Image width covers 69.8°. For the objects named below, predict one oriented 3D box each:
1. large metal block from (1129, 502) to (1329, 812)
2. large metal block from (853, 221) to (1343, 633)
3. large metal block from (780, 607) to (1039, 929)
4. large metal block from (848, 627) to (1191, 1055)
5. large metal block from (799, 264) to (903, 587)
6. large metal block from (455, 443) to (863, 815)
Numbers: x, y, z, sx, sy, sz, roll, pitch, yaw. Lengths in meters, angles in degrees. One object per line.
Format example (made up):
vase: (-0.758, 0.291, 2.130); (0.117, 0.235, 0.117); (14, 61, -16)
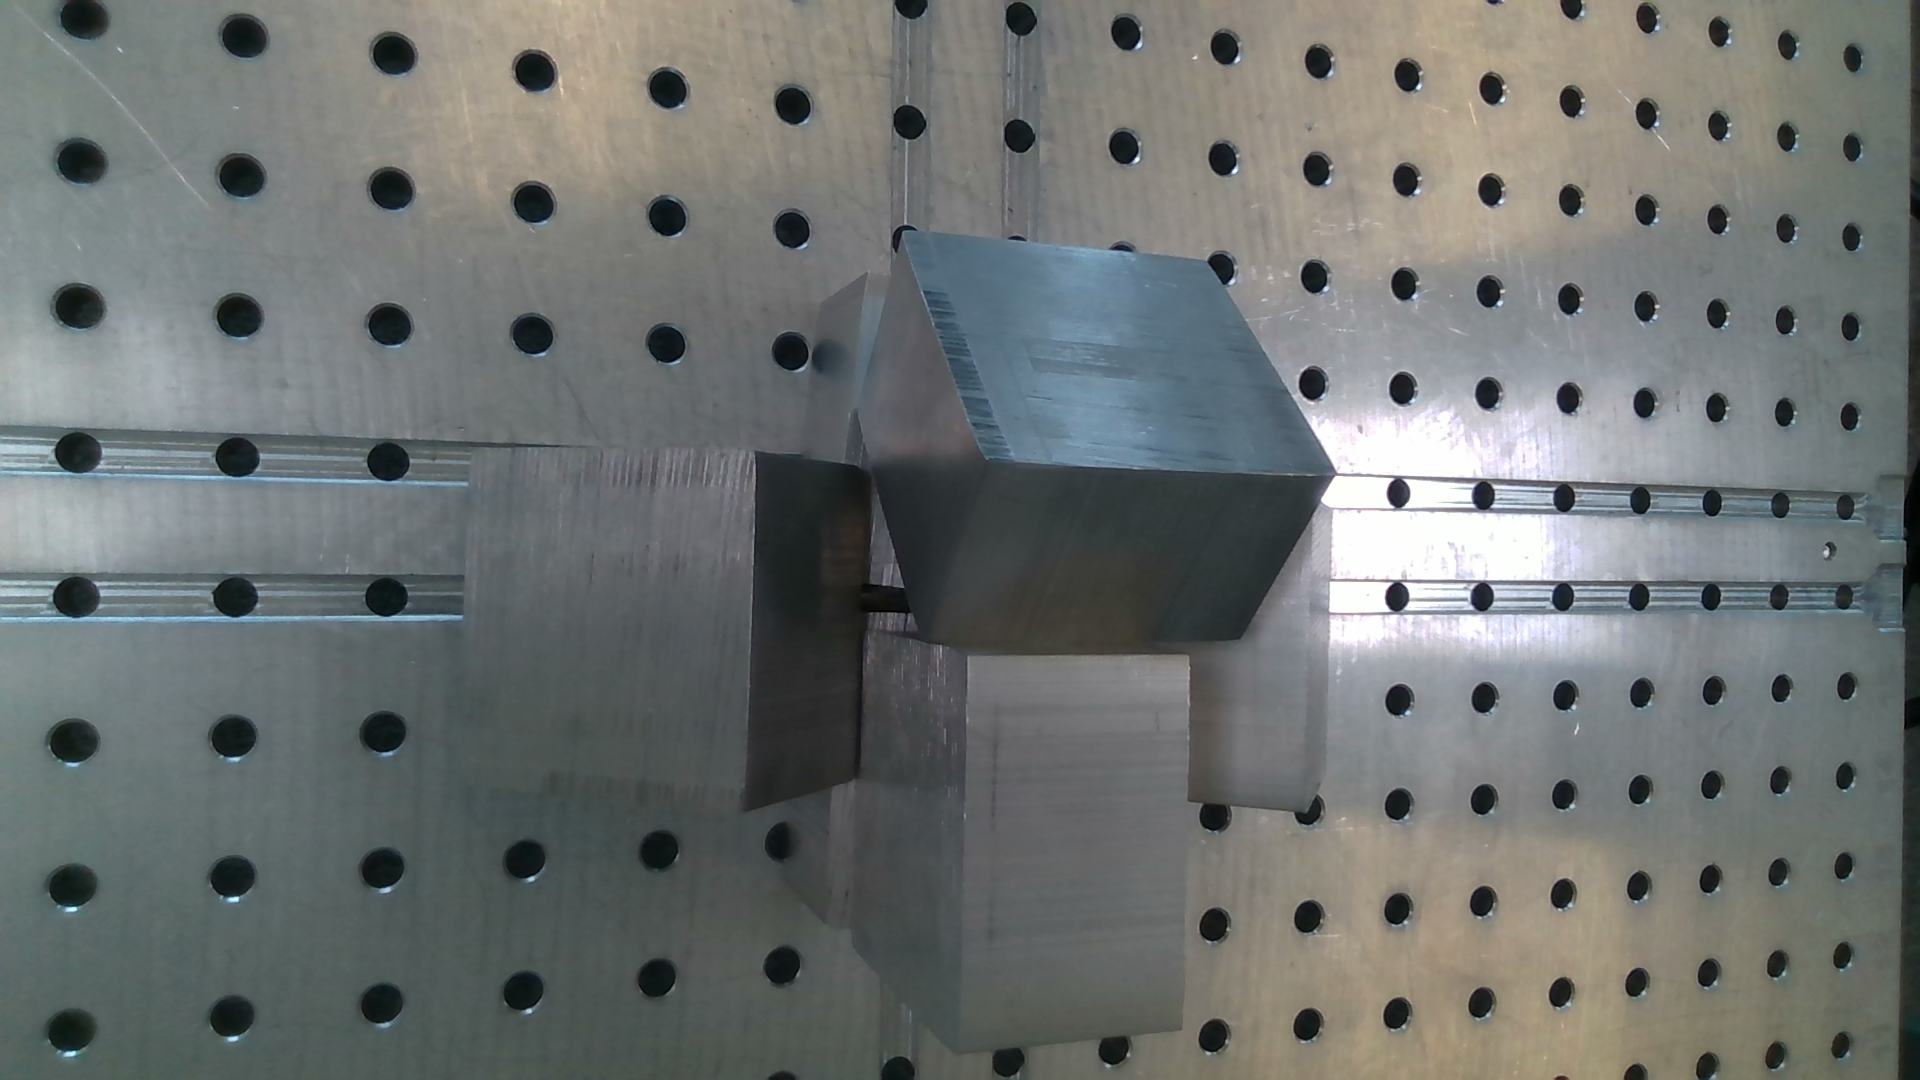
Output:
large metal block: (0.076, 0.028, 0.387); (0.050, 0.080, 0.080); (2, 89, 18)
large metal block: (0.026, -0.025, 0.315); (0.080, 0.050, 0.080); (1, 45, -20)
large metal block: (-0.003, 0.059, 0.382); (0.080, 0.050, 0.080); (3, 89, -20)
large metal block: (0.010, 0.062, 0.318); (0.050, 0.080, 0.080); (2, 90, -20)
large metal block: (0.000, -0.025, 0.384); (0.080, 0.050, 0.080); (7, 88, -20)
large metal block: (-0.072, 0.019, 0.335); (0.080, 0.050, 0.080); (2, 89, 24)
